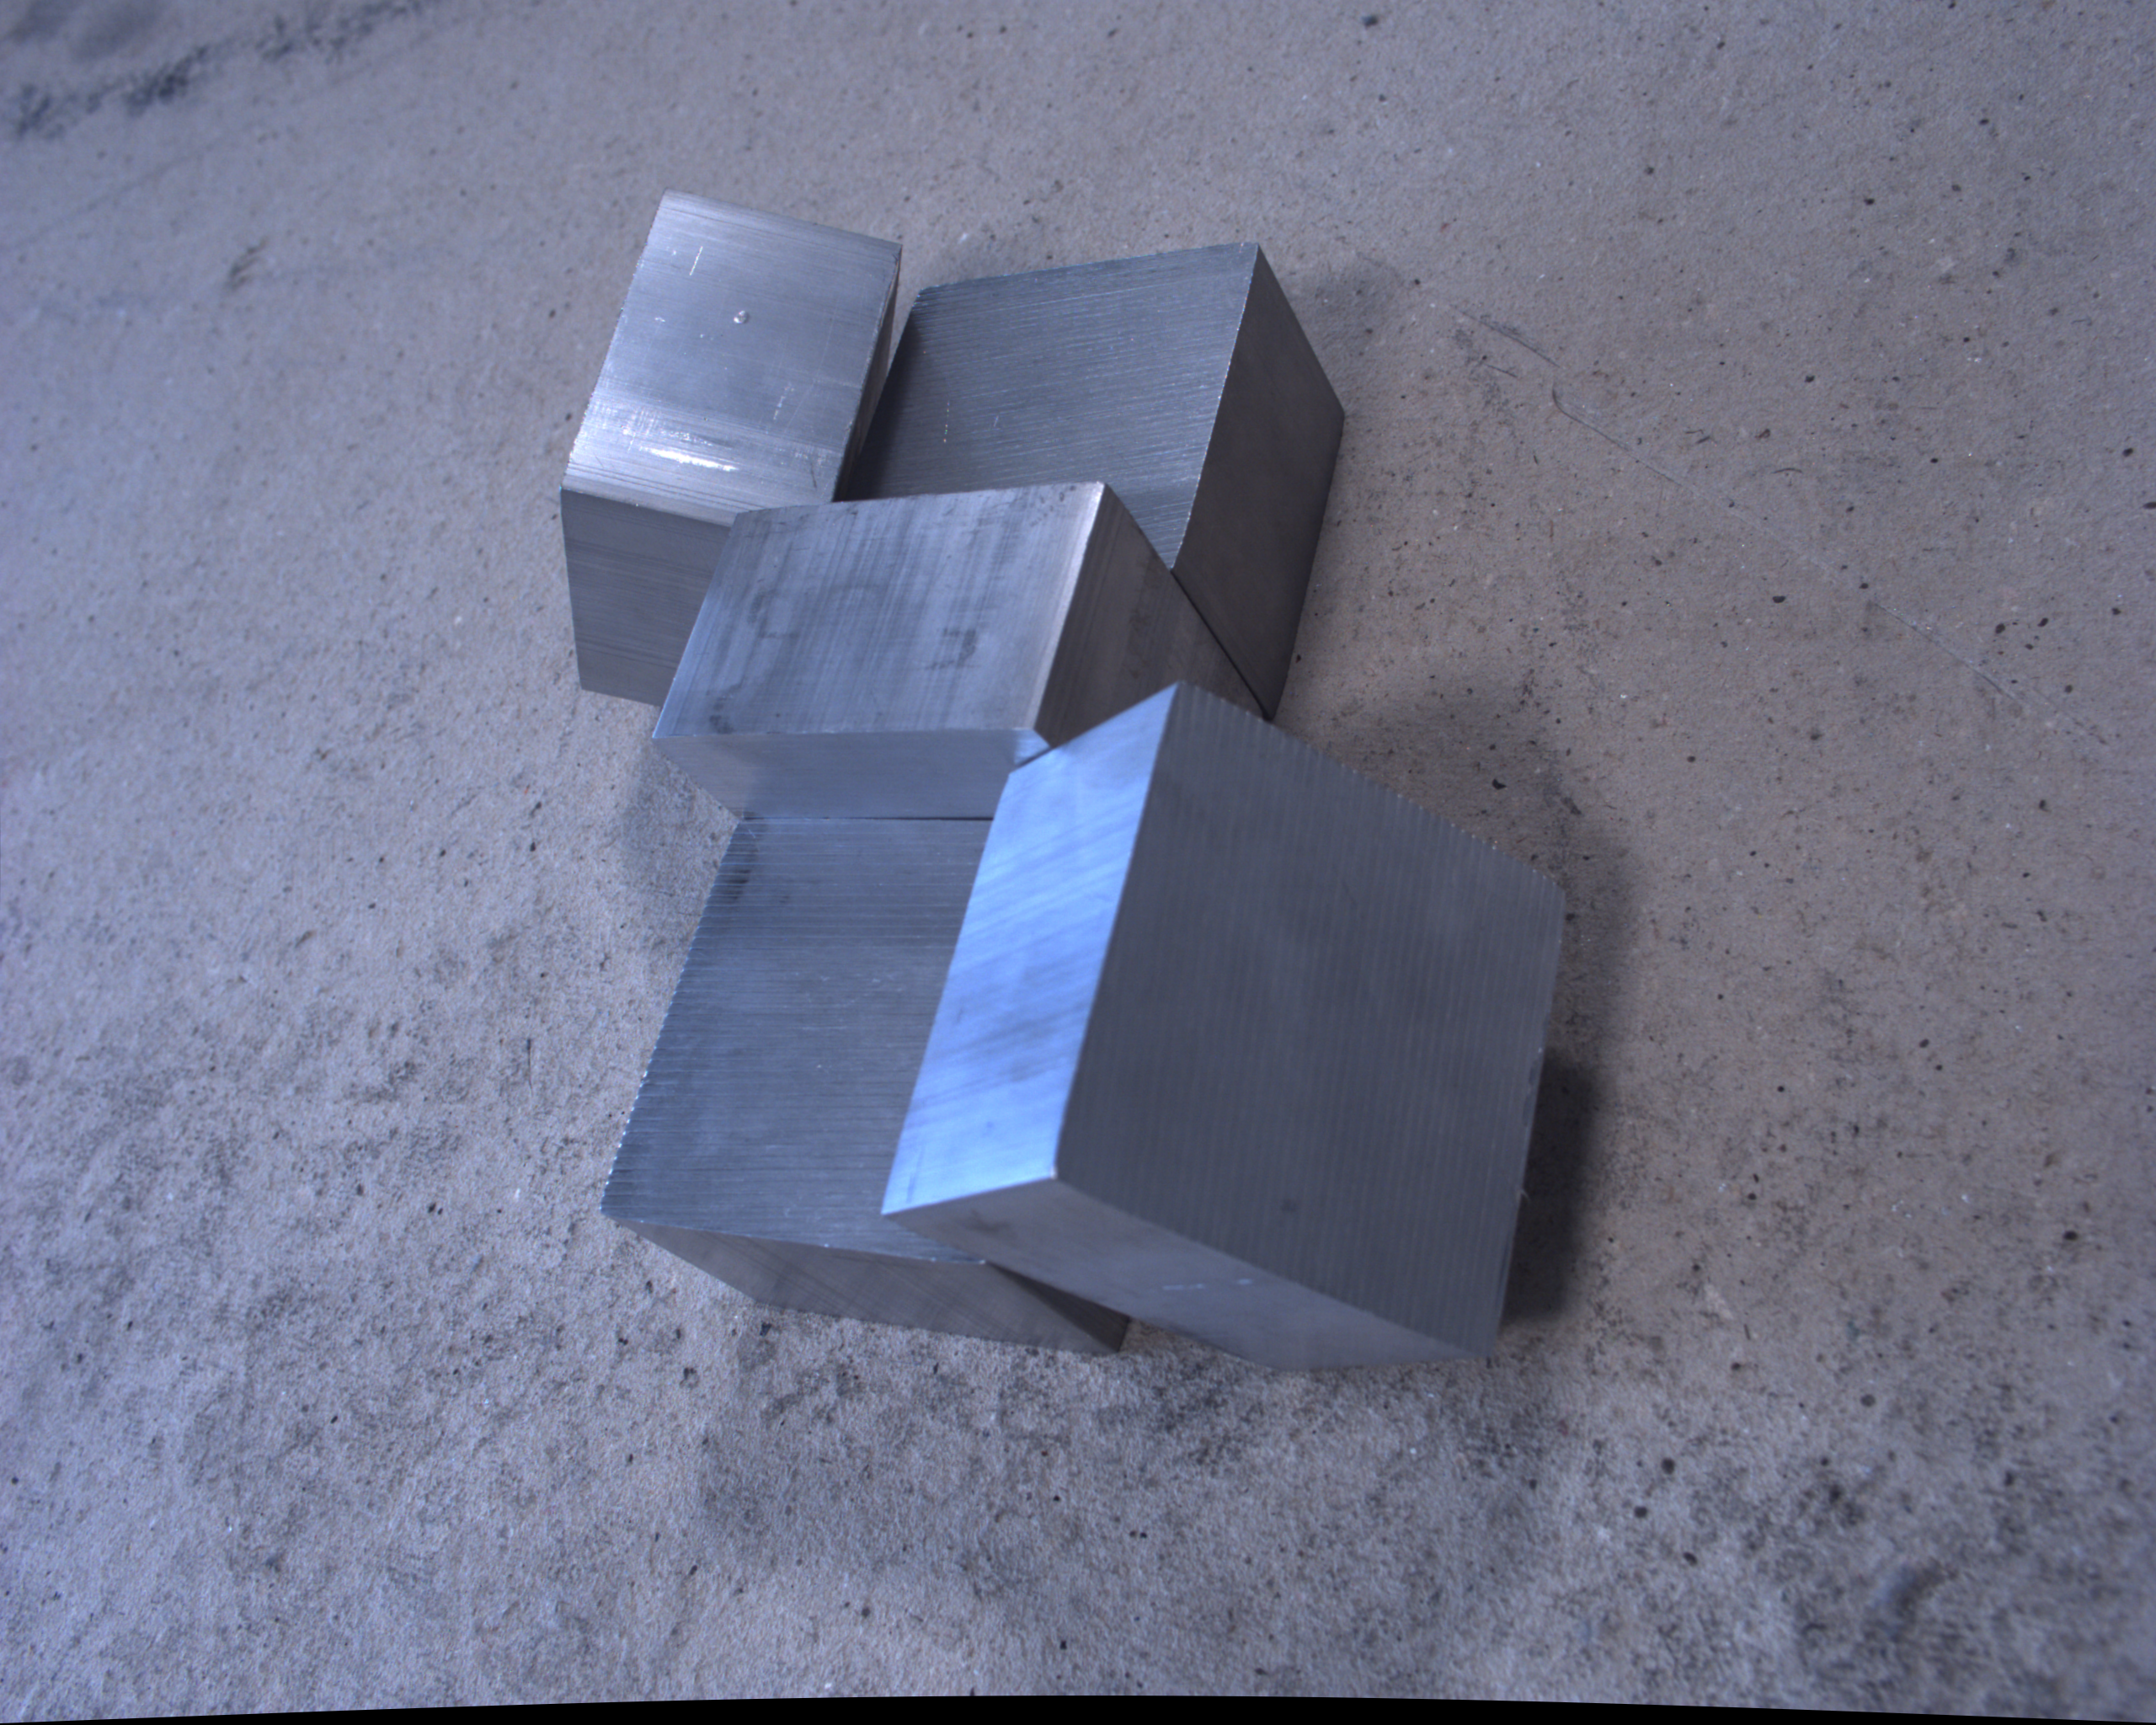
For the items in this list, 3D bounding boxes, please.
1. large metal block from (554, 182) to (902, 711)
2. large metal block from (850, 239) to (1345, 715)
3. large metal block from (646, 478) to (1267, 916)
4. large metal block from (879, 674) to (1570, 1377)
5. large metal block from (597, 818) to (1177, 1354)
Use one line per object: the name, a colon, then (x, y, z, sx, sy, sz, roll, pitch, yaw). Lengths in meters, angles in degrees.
large metal block: (-0.074, -0.084, 0.452, 0.050, 0.080, 0.080, 13, 63, -4)
large metal block: (0.002, -0.077, 0.433, 0.080, 0.050, 0.080, 0, 61, 29)
large metal block: (-0.019, -0.025, 0.396, 0.080, 0.080, 0.050, 1, 62, 28)
large metal block: (0.025, 0.029, 0.330, 0.050, 0.080, 0.080, -25, 44, 54)
large metal block: (-0.029, 0.039, 0.381, 0.080, 0.050, 0.080, 1, 63, 29)
